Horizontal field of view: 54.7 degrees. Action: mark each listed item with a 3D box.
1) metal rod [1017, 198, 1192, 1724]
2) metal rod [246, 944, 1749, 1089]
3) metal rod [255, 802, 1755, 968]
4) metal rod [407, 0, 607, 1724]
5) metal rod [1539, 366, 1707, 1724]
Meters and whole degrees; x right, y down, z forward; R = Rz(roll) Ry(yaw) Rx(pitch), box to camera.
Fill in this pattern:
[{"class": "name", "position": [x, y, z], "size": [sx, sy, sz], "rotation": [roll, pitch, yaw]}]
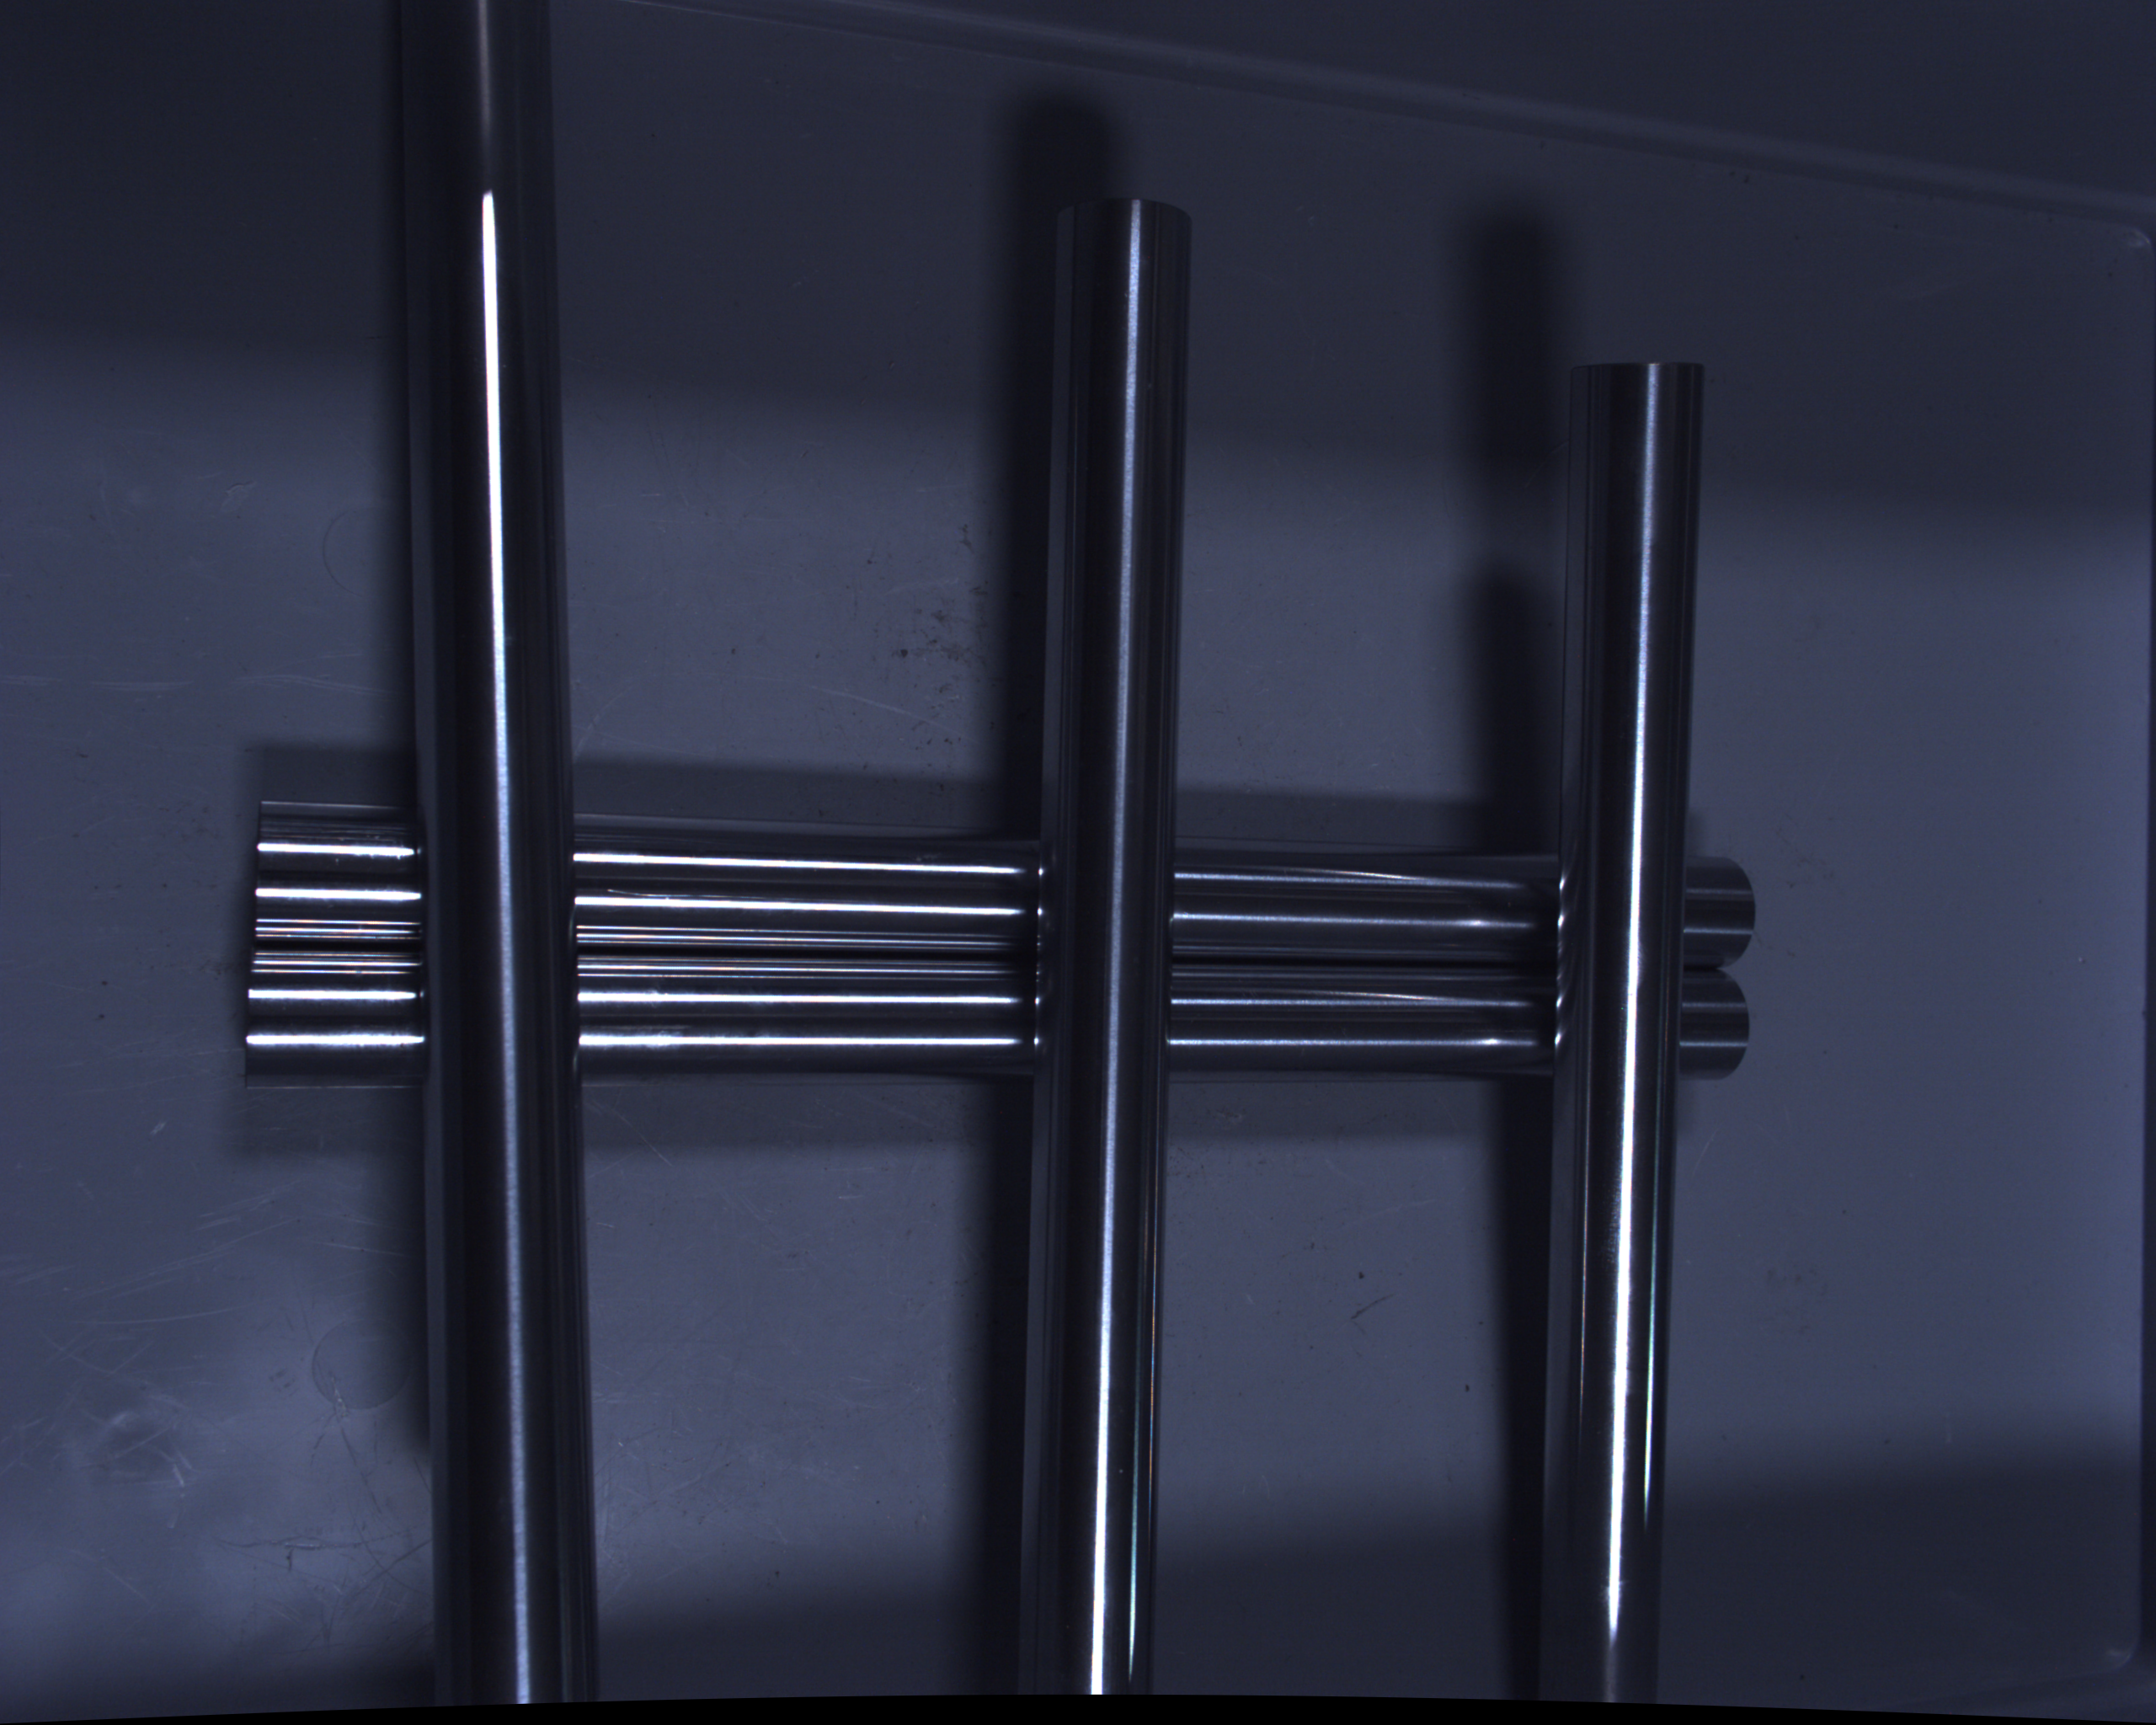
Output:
[{"class": "metal rod", "position": [0.005, 0.030, 0.386], "size": [0.025, 0.025, 0.298], "rotation": [2, 90, -20]}, {"class": "metal rod", "position": [-0.001, 0.031, 0.410], "size": [0.303, 0.025, 0.025], "rotation": [2, 90, -21]}, {"class": "metal rod", "position": [0.001, 0.007, 0.411], "size": [0.303, 0.025, 0.025], "rotation": [2, 90, -21]}, {"class": "metal rod", "position": [-0.096, -0.014, 0.348], "size": [0.025, 0.025, 0.298], "rotation": [-1, 82, -20]}, {"class": "metal rod", "position": [0.110, 0.052, 0.428], "size": [0.025, 0.025, 0.298], "rotation": [-4, 100, -20]}]
